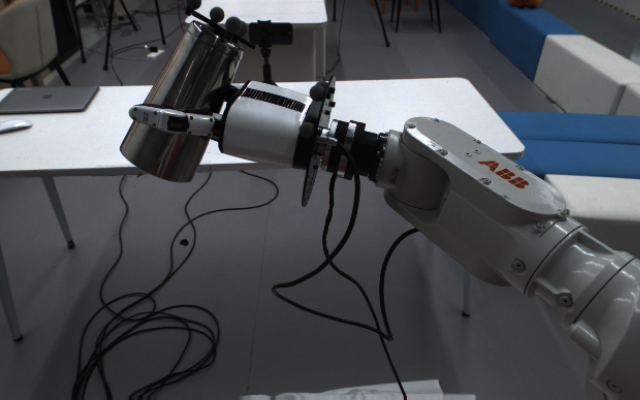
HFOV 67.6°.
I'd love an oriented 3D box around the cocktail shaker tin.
[{"bbox_3d":[-0.157,-0.118,0.571,0.093,0.170,0.093,28,14,-7],"label":"cocktail shaker tin"}]
